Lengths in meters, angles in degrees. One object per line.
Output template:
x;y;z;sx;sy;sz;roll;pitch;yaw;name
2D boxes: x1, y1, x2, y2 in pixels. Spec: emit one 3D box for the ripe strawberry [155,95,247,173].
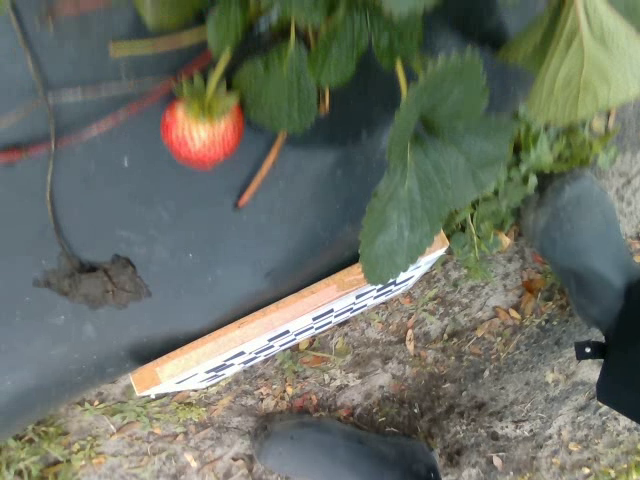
-0.082;-0.065;0.410;0.061;0.050;0.065;-25;-18;-15;ripe strawberry
